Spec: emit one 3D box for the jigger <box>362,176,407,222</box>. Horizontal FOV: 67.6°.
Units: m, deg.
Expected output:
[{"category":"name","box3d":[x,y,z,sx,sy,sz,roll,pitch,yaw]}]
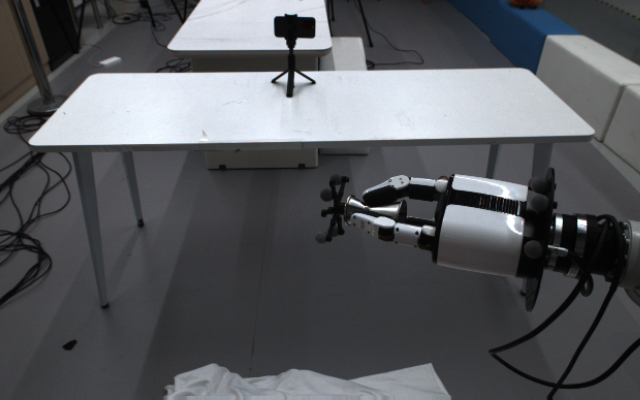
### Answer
[{"category":"jigger","box3d":[0.074,0.014,0.592,0.071,0.043,0.043,8,34,23]}]
